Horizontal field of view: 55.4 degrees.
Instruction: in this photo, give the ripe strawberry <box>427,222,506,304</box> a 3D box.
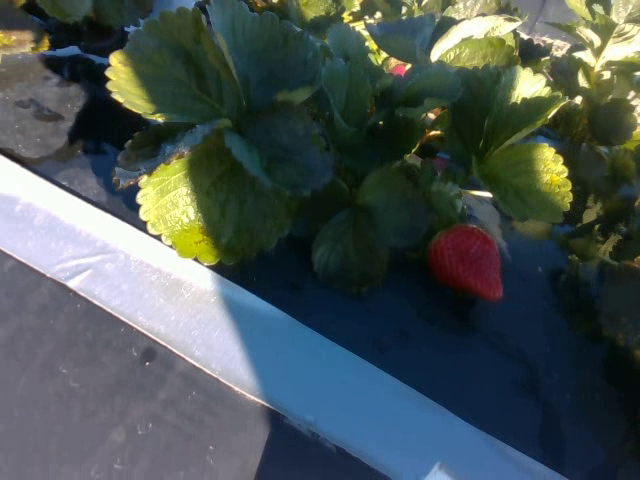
[{"bbox_3d":[0.084,0.014,0.332,0.045,0.059,0.042,-26,-36,5],"label":"ripe strawberry"}]
